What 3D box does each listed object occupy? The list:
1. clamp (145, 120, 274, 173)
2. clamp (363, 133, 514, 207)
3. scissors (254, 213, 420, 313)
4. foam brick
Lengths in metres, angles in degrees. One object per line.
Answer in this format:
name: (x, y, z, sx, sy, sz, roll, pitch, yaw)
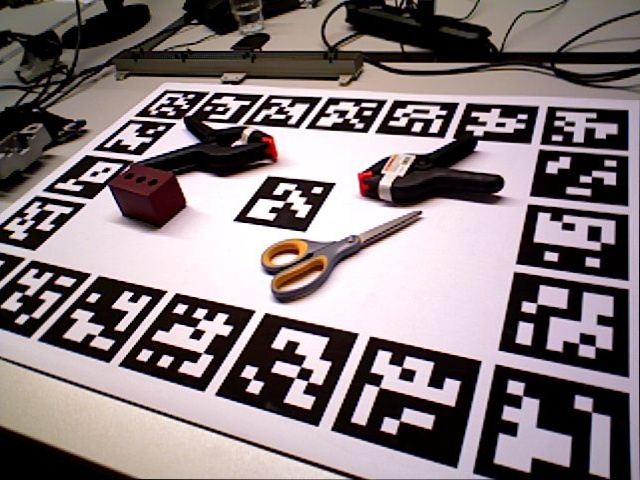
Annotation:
clamp: (-0.162, -0.132, 0.789, 0.204, 0.037, 0.161, 6, 42, 19)
clamp: (0.134, -0.079, 0.660, 0.165, 0.037, 0.120, -12, 49, 3)
scissors: (0.025, 0.010, 0.594, 0.200, 0.016, 0.087, -25, 51, -15)
foam brick: (-0.228, -0.049, 0.707, 0.078, 0.052, 0.051, 12, 48, 31)
